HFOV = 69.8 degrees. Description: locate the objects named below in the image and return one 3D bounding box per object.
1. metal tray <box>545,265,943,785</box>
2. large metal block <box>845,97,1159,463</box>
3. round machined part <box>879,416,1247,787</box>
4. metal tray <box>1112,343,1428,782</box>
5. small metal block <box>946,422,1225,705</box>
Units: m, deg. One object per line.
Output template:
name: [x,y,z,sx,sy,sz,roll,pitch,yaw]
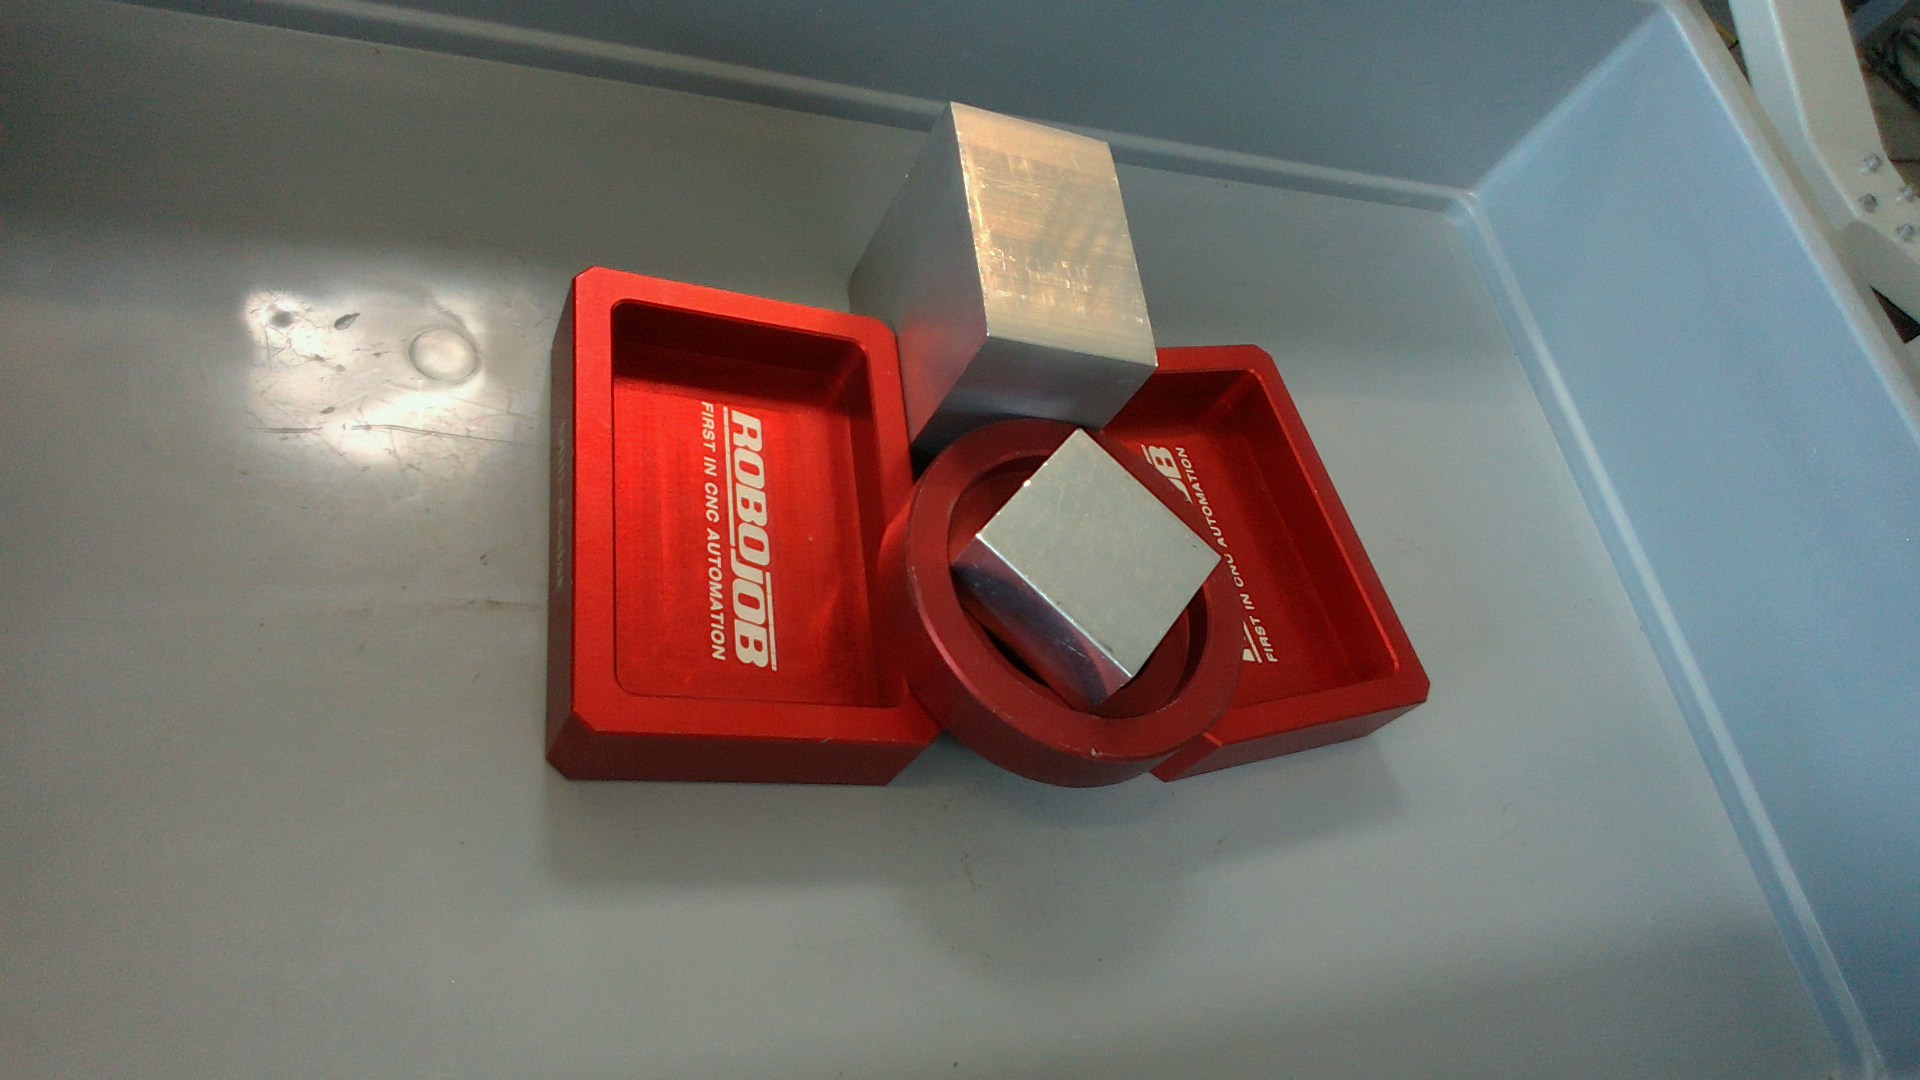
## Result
metal tray: [-0.058,-0.004,0.356,0.090,0.030,0.130,6,59,-25]
large metal block: [0.008,-0.064,0.396,0.050,0.080,0.080,6,59,-25]
round machined part: [0.024,0.019,0.366,0.098,0.042,0.098,14,56,-21]
metal tray: [0.078,0.002,0.426,0.090,0.030,0.130,-7,65,-31]
small metal block: [0.031,0.006,0.346,0.050,0.025,0.050,43,51,1]
